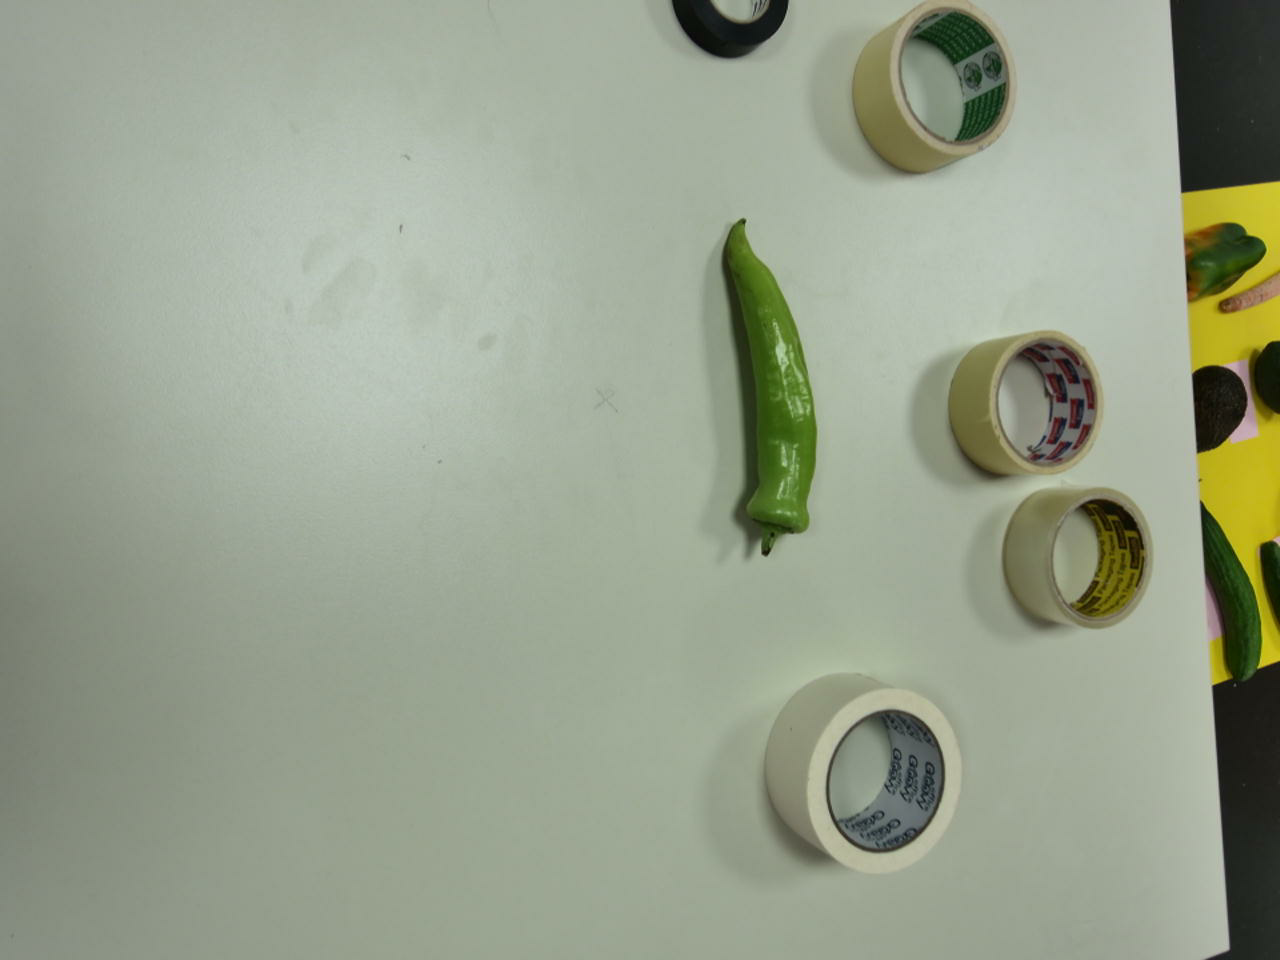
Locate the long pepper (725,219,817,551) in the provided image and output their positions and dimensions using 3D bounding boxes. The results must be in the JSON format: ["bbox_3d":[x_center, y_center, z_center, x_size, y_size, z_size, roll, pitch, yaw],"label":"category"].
[{"bbox_3d":[0.079,-0.056,0.582,0.046,0.038,0.197,-4,92,-22],"label":"long pepper"}]
